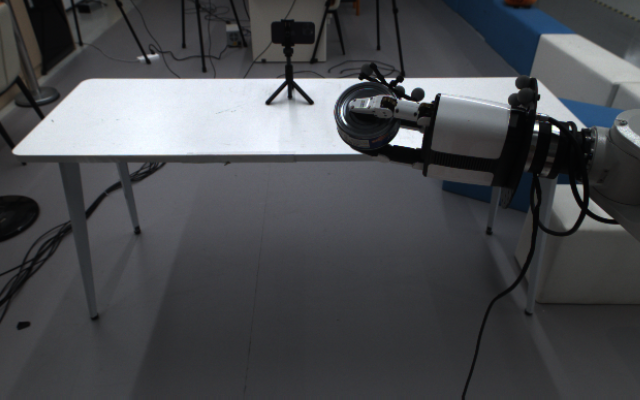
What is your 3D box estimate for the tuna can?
[{"bbox_3d":[0.066,-0.105,0.629,0.085,0.034,0.085,-4,69,10],"label":"tuna can"}]
